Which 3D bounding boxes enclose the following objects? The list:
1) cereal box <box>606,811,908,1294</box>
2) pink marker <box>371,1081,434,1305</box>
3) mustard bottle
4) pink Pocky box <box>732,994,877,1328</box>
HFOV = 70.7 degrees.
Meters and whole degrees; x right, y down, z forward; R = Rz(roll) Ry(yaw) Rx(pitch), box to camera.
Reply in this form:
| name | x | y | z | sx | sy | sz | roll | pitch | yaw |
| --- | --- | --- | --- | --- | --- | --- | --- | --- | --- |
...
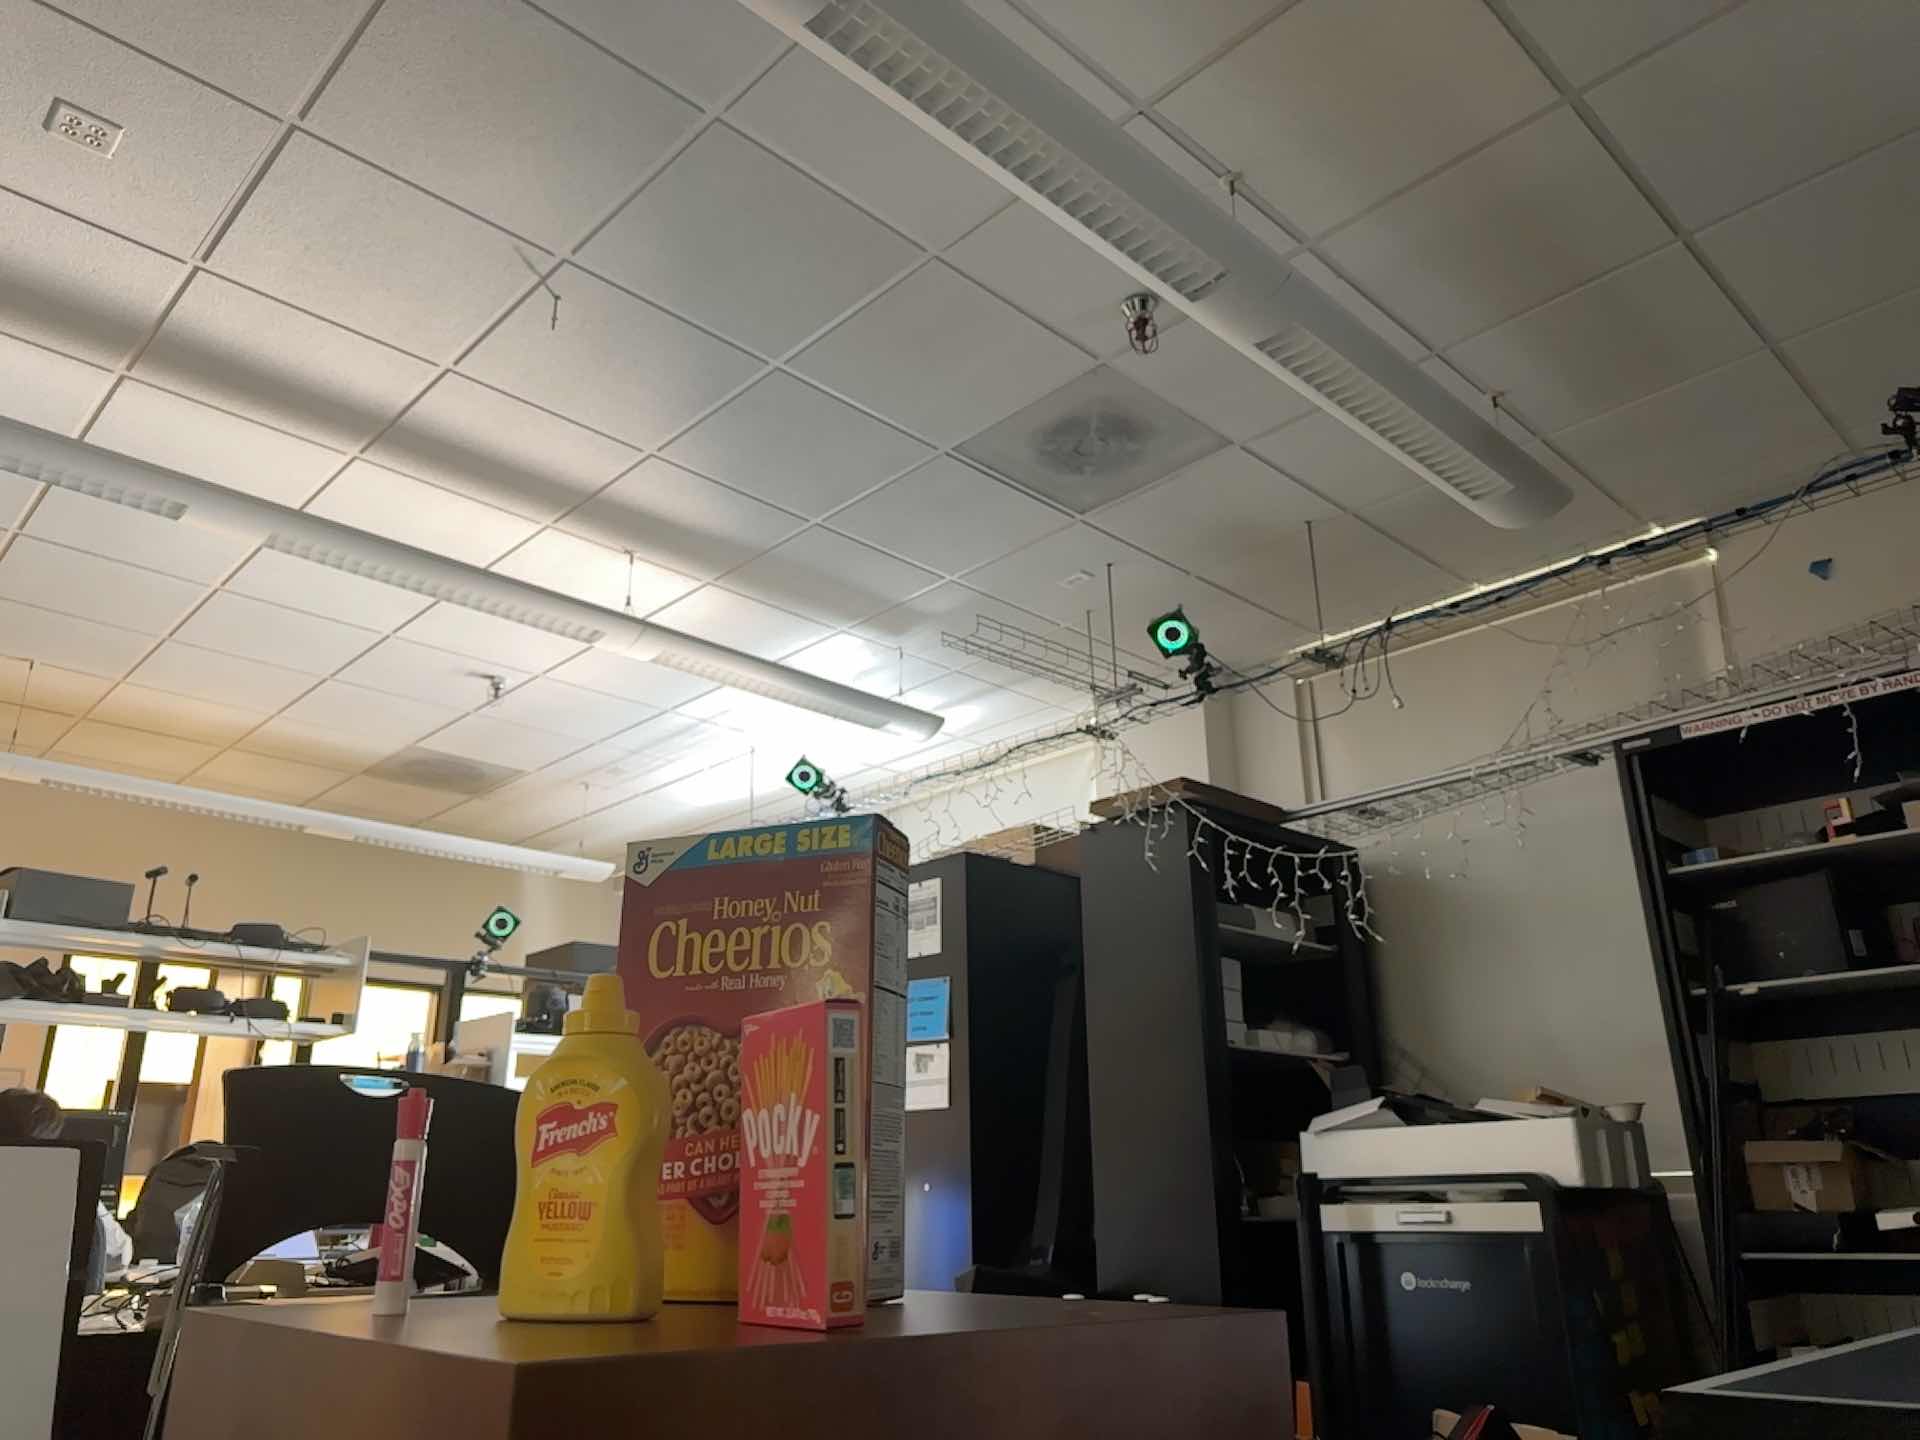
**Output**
| name | x | y | z | sx | sy | sz | roll | pitch | yaw |
| --- | --- | --- | --- | --- | --- | --- | --- | --- | --- |
| cereal box | -0.142 | 0.222 | 0.917 | 0.195 | 0.296 | 0.065 | -6 | -19 | 17 |
| pink marker | -0.319 | 0.270 | 0.777 | 0.020 | 0.121 | 0.020 | 1 | -19 | 0 |
| mustard bottle | -0.205 | 0.228 | 0.746 | 0.092 | 0.184 | 0.054 | -9 | -20 | 20 |
| pink Pocky box | -0.080 | 0.222 | 0.685 | 0.029 | 0.154 | 0.084 | 17 | -26 | -42 |
